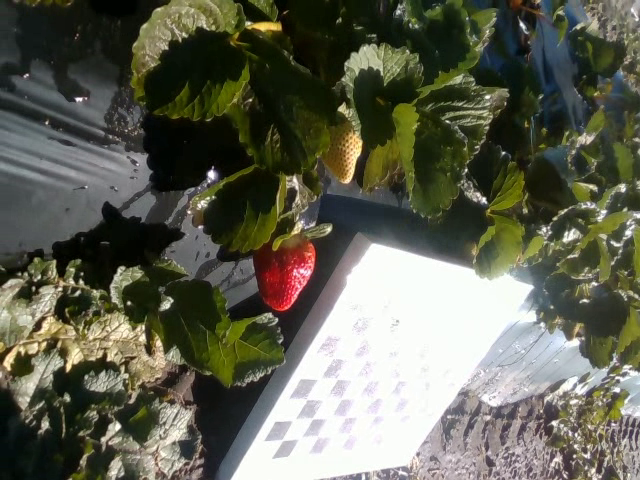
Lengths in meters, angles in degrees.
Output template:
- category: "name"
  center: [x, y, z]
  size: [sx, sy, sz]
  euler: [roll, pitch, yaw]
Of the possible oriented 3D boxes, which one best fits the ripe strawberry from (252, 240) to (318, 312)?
- category: "ripe strawberry"
  center: [-0.027, 0.025, 0.447]
  size: [0.048, 0.069, 0.040]
  euler: [-6, 29, -35]
